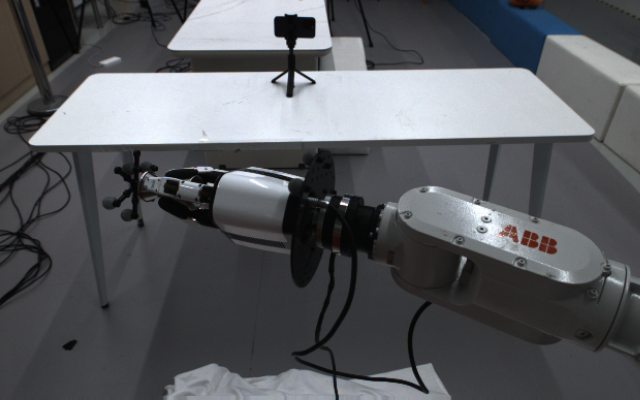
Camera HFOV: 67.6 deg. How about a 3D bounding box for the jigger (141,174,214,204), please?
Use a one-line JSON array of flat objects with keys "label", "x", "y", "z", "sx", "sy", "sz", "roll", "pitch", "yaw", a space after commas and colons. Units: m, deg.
[{"label": "jigger", "x": -0.178, "y": -0.016, "z": 0.597, "sx": 0.071, "sy": 0.043, "sz": 0.043, "roll": 7, "pitch": 35, "yaw": 14}]
